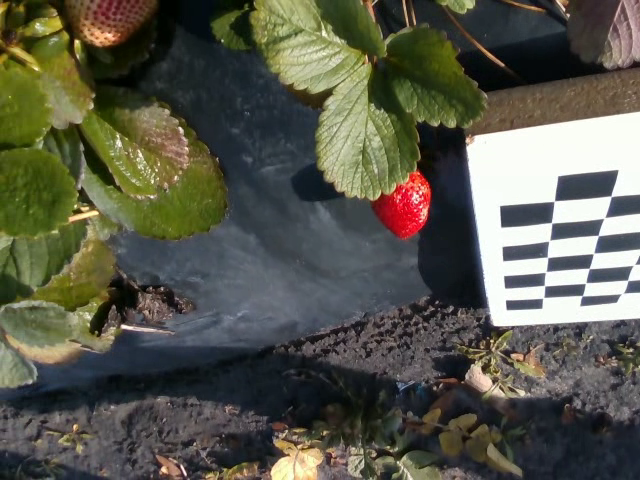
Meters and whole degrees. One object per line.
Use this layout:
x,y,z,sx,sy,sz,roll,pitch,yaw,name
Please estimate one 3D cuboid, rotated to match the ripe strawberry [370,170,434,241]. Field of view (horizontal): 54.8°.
0.036,-0.015,0.262,0.034,0.038,0.033,-6,13,17,ripe strawberry
